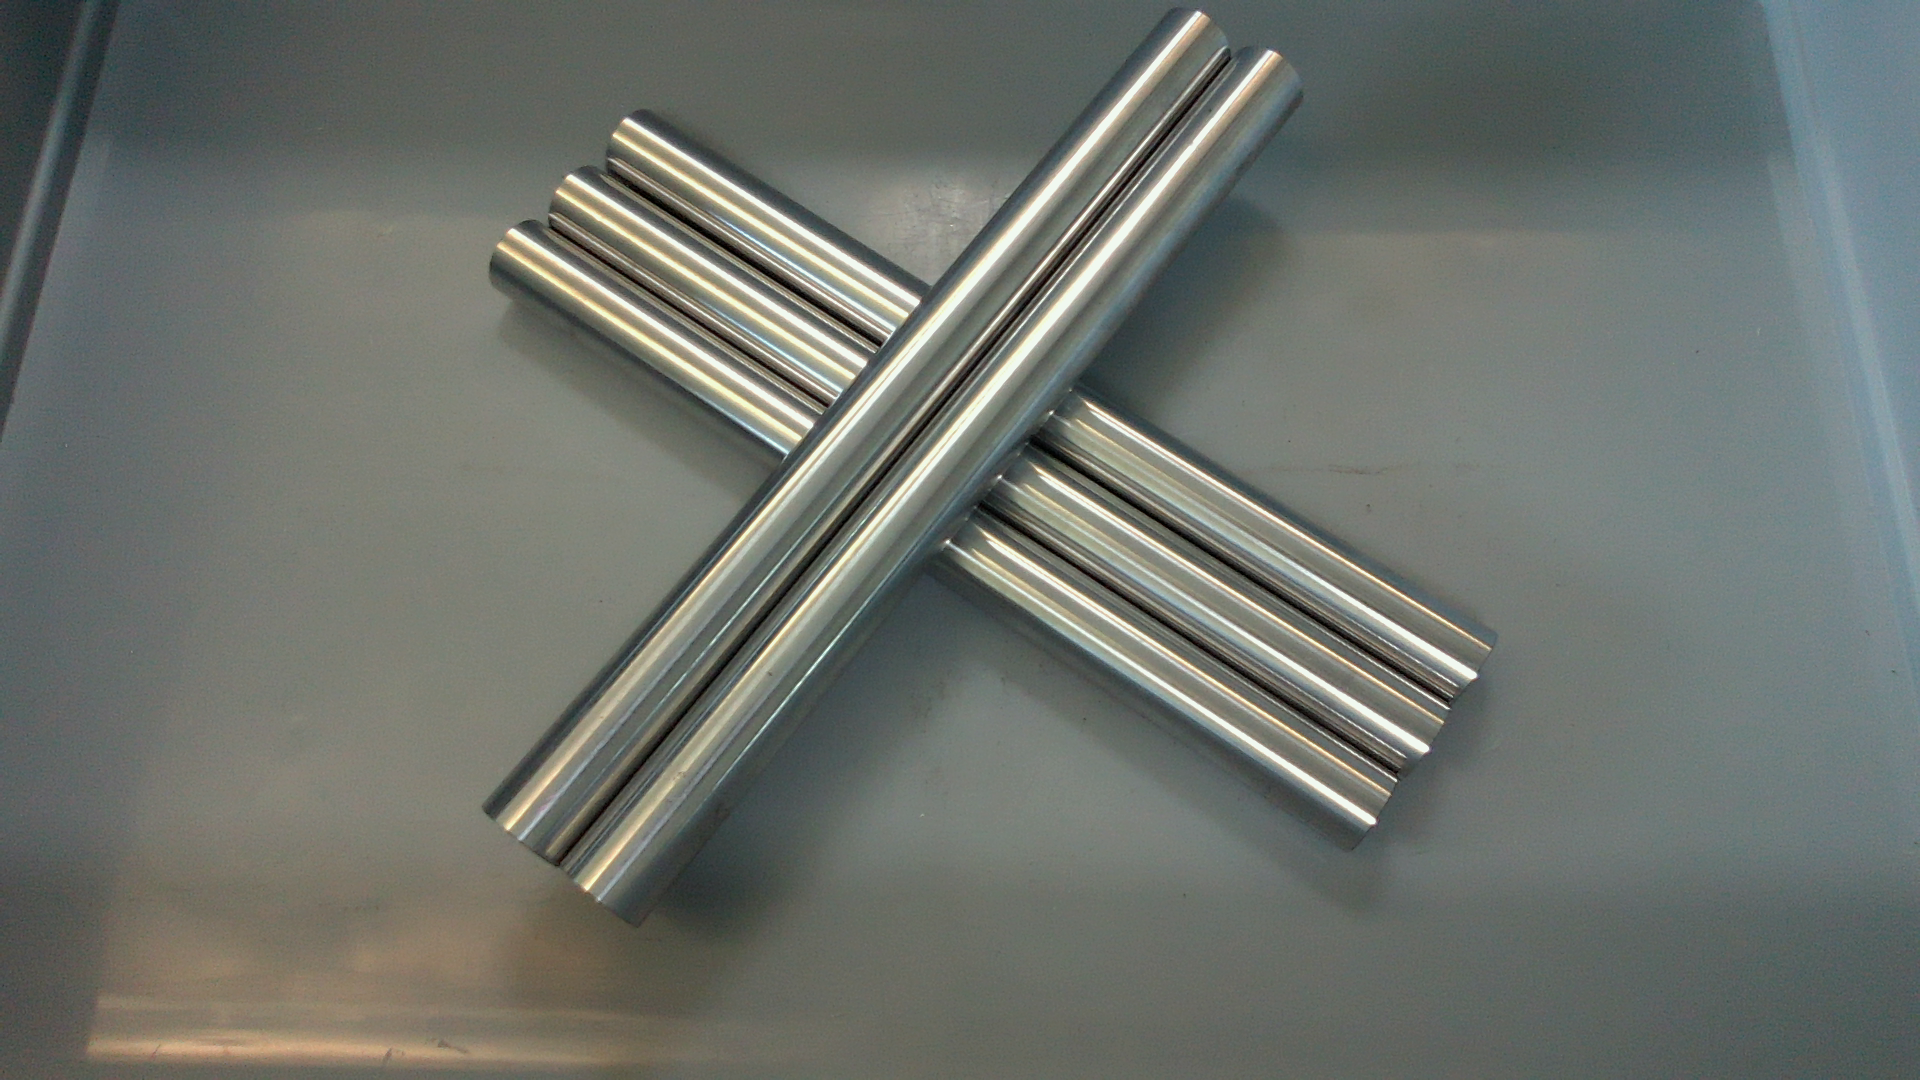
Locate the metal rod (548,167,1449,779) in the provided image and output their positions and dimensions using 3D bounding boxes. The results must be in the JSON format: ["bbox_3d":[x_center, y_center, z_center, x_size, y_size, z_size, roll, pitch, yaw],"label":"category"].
[{"bbox_3d":[0.003,-0.025,0.403,0.300,0.025,0.025,33,73,11],"label":"metal rod"}]

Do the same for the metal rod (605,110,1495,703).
[{"bbox_3d":[0.018,-0.045,0.410,0.300,0.025,0.025,33,73,11],"label":"metal rod"}]

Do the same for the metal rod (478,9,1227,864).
[{"bbox_3d":[-0.019,-0.040,0.381,0.025,0.025,0.300,35,74,12],"label":"metal rod"}]

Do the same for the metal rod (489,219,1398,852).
[{"bbox_3d":[-0.013,-0.008,0.396,0.300,0.025,0.025,33,73,11],"label":"metal rod"}]

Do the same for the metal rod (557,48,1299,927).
[{"bbox_3d":[0.002,-0.026,0.376,0.025,0.025,0.300,35,74,12],"label":"metal rod"}]
